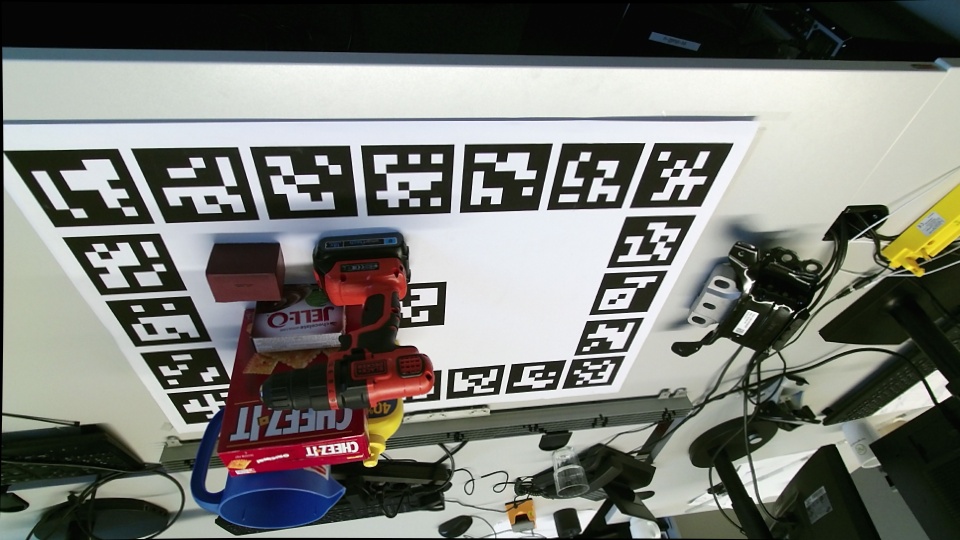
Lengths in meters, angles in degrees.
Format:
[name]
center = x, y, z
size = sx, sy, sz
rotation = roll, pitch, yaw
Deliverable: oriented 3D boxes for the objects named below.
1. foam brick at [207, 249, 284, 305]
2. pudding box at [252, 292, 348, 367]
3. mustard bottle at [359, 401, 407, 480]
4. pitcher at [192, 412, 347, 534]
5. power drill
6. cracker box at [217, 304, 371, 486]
[foam brick]
center = -0.286, 0.009, 0.661
size = 0.078, 0.051, 0.053
rotation = -2, 133, -11
[pudding box]
center = -0.229, 0.074, 0.693
size = 0.114, 0.089, 0.039
rotation = -5, 136, -13
[mustard bottle]
center = -0.156, 0.211, 0.778
size = 0.096, 0.190, 0.058
rotation = 6, 131, -19
[pitcher]
center = -0.286, 0.226, 0.747
size = 0.189, 0.241, 0.133
rotation = 0, 134, -16
[power drill]
center = -0.152, 0.074, 0.613
size = 0.185, 0.186, 0.057
rotation = -4, 138, -9
[cracker box]
center = -0.232, 0.147, 0.688
size = 0.165, 0.212, 0.072
rotation = -7, 137, -10
